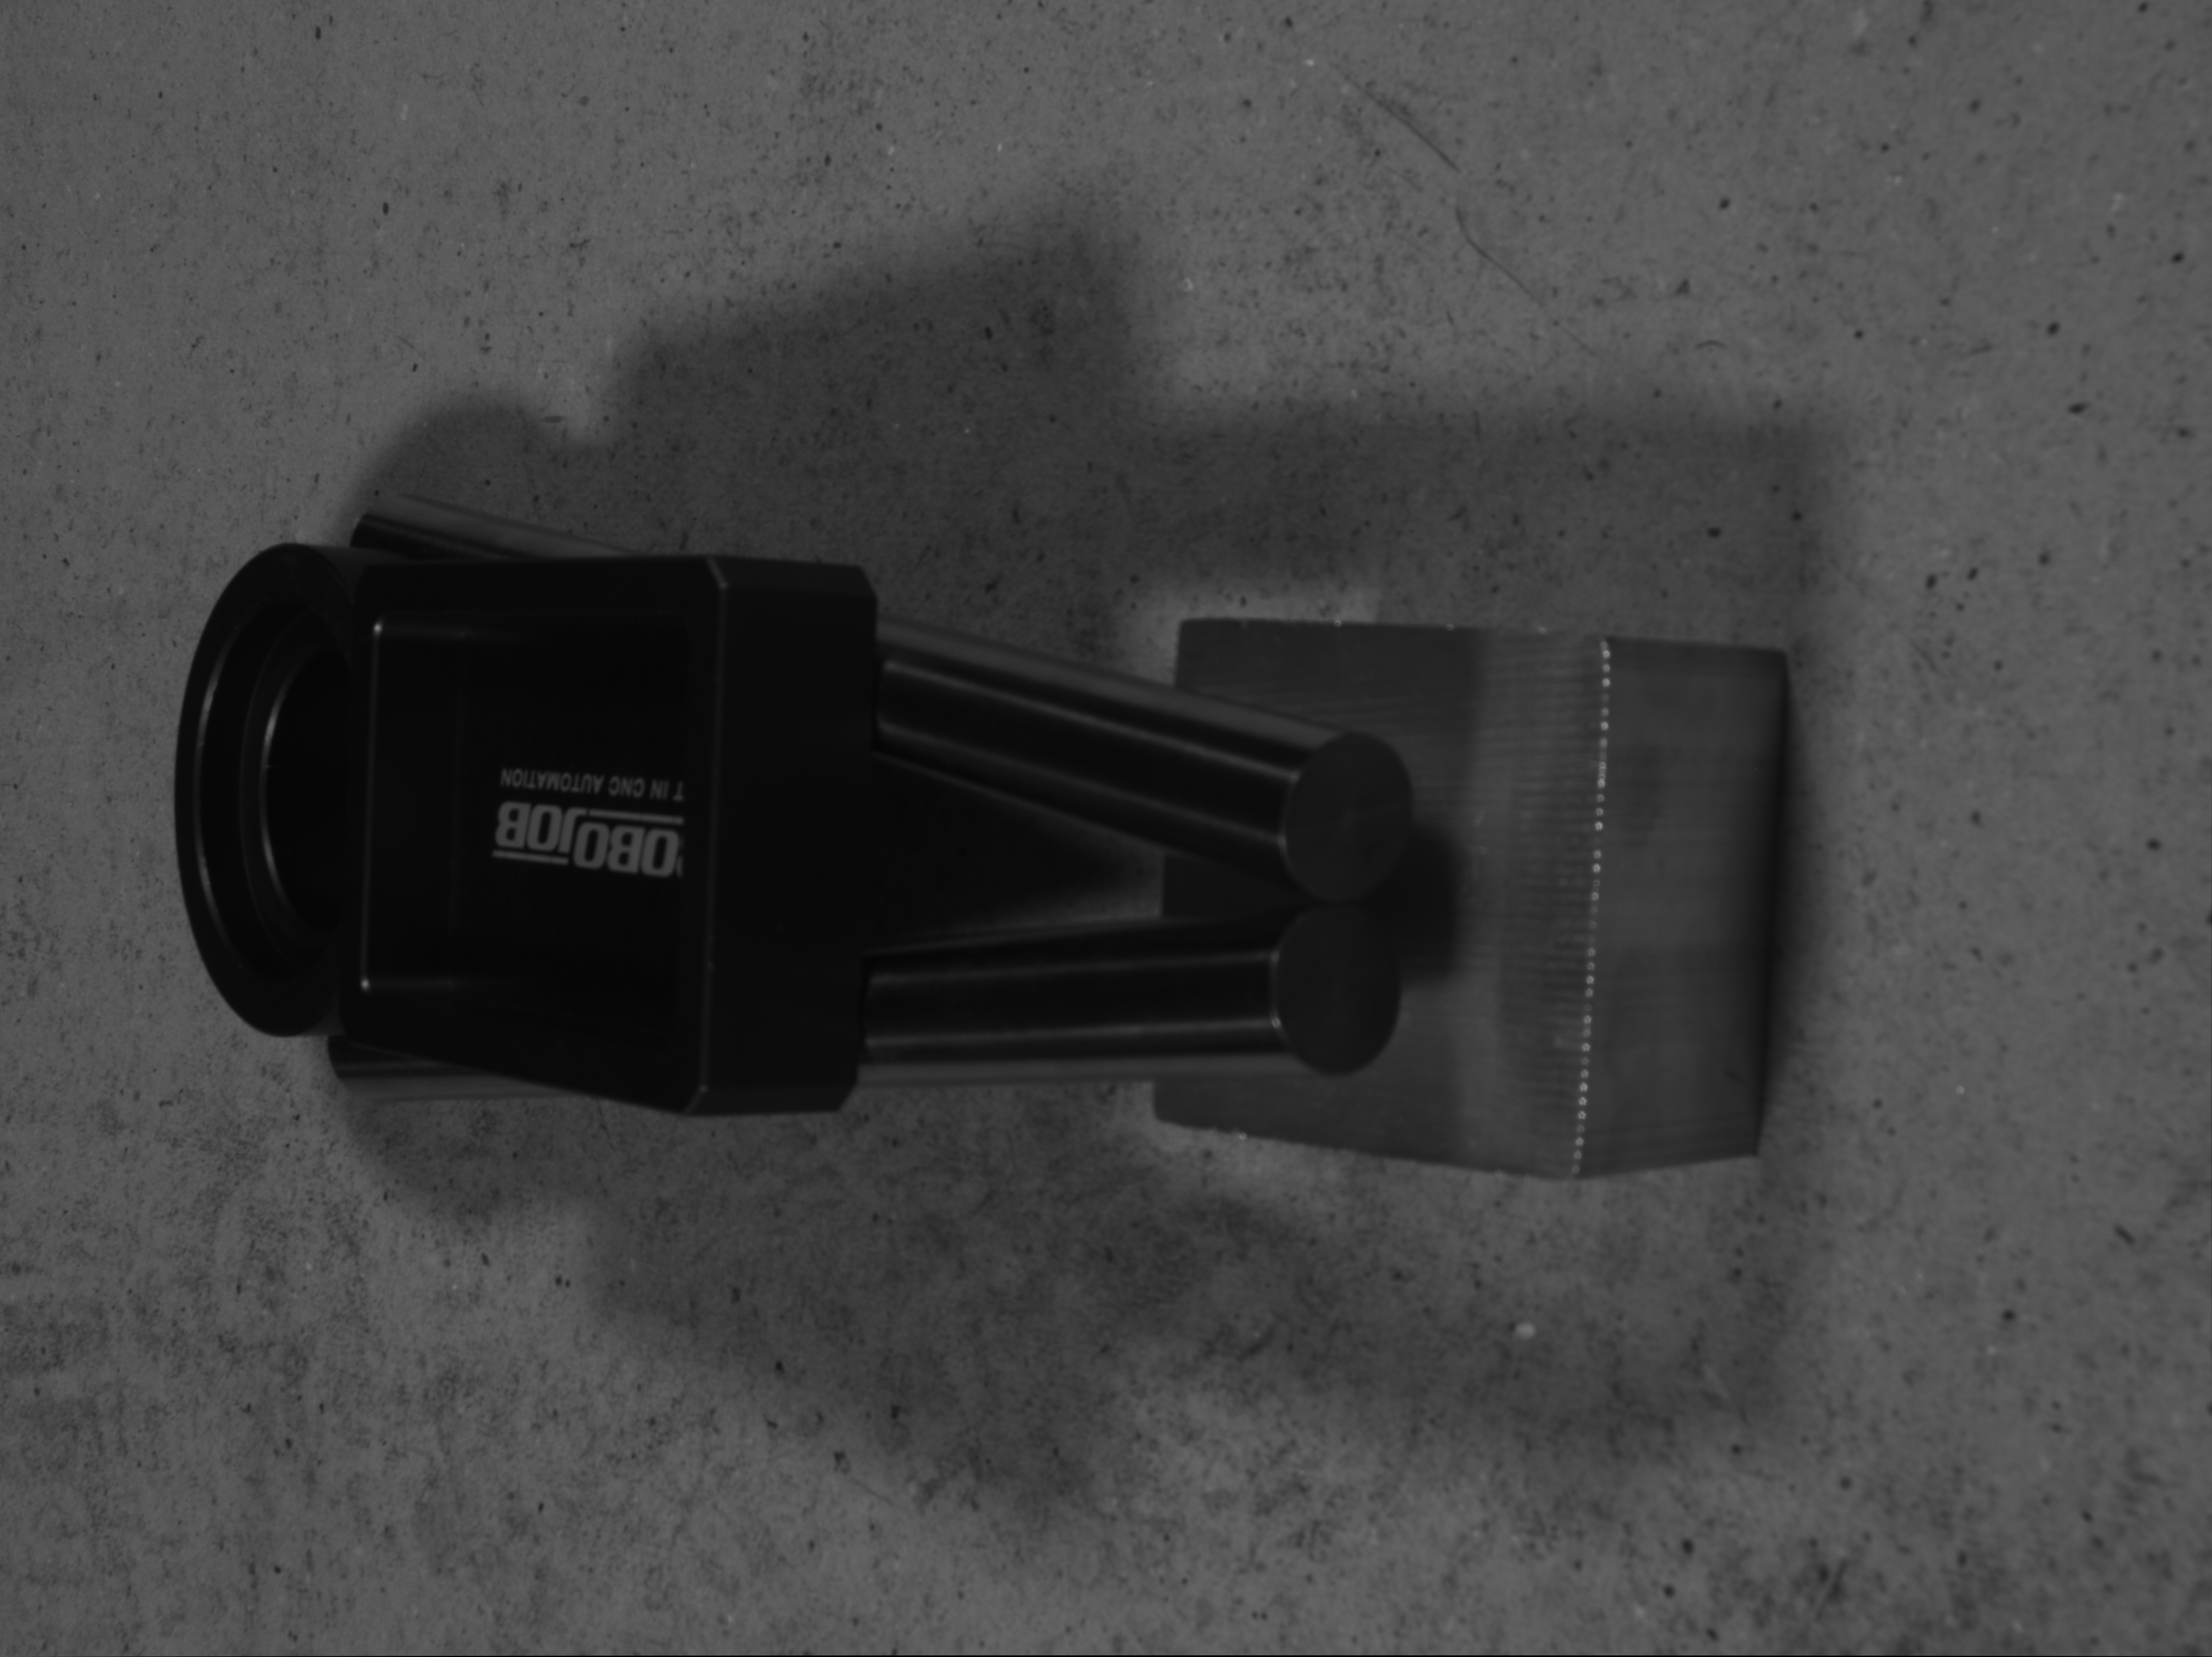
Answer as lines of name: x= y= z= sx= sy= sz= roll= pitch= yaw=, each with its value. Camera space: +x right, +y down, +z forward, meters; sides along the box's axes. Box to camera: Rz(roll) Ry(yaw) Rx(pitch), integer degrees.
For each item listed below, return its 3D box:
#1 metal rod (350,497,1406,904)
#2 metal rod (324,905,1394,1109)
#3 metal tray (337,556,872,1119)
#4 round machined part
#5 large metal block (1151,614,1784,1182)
metal rod: x=-0.056 y=-0.029 z=0.641 sx=0.299 sy=0.025 sz=0.025 roll=17 pitch=101 yaw=51
metal rod: x=-0.059 y=0.035 z=0.644 sx=0.299 sy=0.025 sz=0.025 roll=-7 pitch=85 yaw=52
metal tray: x=-0.091 y=-0.001 z=0.640 sx=0.130 sy=0.030 sz=0.090 roll=5 pitch=93 yaw=52
round machined part: x=-0.148 y=-0.007 z=0.740 sx=0.098 sy=0.042 sz=0.098 roll=-1 pitch=88 yaw=50
large metal block: x=0.056 y=0.009 z=0.573 sx=0.080 sy=0.050 sz=0.080 roll=5 pitch=93 yaw=39
